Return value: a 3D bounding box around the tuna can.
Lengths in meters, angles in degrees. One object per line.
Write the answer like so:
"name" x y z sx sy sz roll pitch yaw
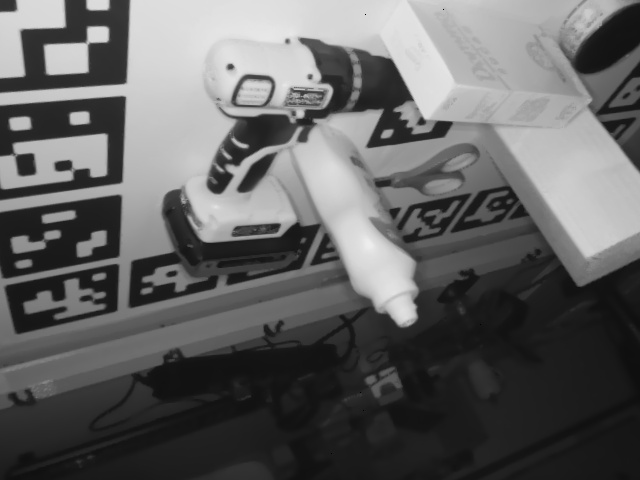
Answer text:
"tuna can" 0.284 -0.199 0.646 0.086 0.034 0.085 -19 147 -12

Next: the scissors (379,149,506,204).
"scissors" 0.124 -0.061 0.756 0.206 0.016 0.086 -9 149 -26

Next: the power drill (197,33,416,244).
"power drill" -0.013 -0.082 0.583 0.187 0.057 0.184 -2 134 -35

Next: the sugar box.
"sugar box" 0.141 -0.147 0.570 0.179 0.093 0.044 -1 145 -33

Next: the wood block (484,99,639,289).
"wood block" 0.250 -0.069 0.672 0.091 0.206 0.090 -26 148 0

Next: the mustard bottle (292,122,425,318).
"mustard bottle" 0.040 -0.014 0.611 0.058 0.191 0.097 -33 147 10
